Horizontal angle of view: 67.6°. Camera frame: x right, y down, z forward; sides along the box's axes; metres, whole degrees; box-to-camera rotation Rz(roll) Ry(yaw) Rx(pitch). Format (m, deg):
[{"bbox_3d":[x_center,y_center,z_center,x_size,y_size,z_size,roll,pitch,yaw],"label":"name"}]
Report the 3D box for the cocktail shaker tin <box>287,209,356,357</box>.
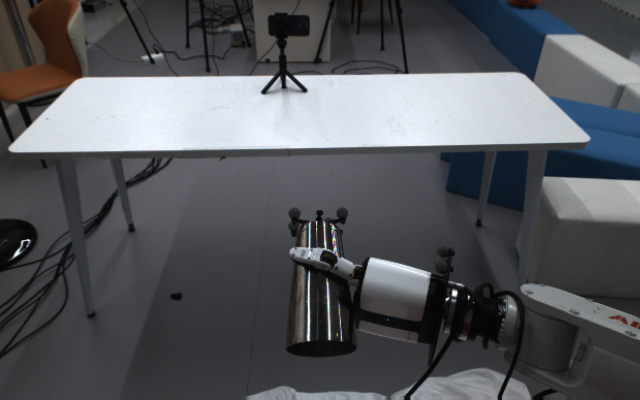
[{"bbox_3d":[-0.001,0.118,0.660,0.093,0.093,0.170,0,59,-3],"label":"cocktail shaker tin"}]
